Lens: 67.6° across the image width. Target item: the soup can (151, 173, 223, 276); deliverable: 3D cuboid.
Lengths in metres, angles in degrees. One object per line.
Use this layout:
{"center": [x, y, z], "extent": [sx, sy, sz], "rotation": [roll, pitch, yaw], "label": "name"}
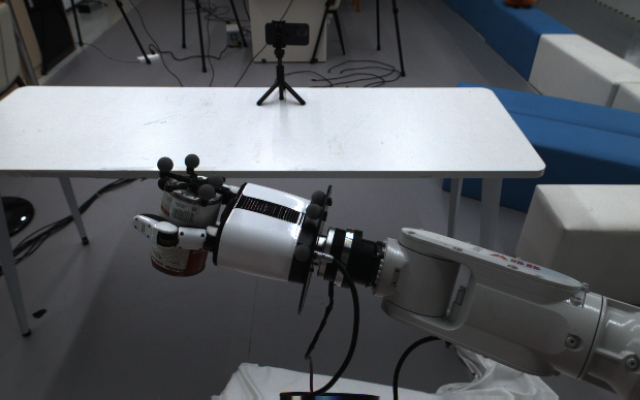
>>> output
{"center": [-0.157, 0.032, 0.574], "extent": [0.067, 0.101, 0.067], "rotation": [17, 22, -7], "label": "soup can"}
